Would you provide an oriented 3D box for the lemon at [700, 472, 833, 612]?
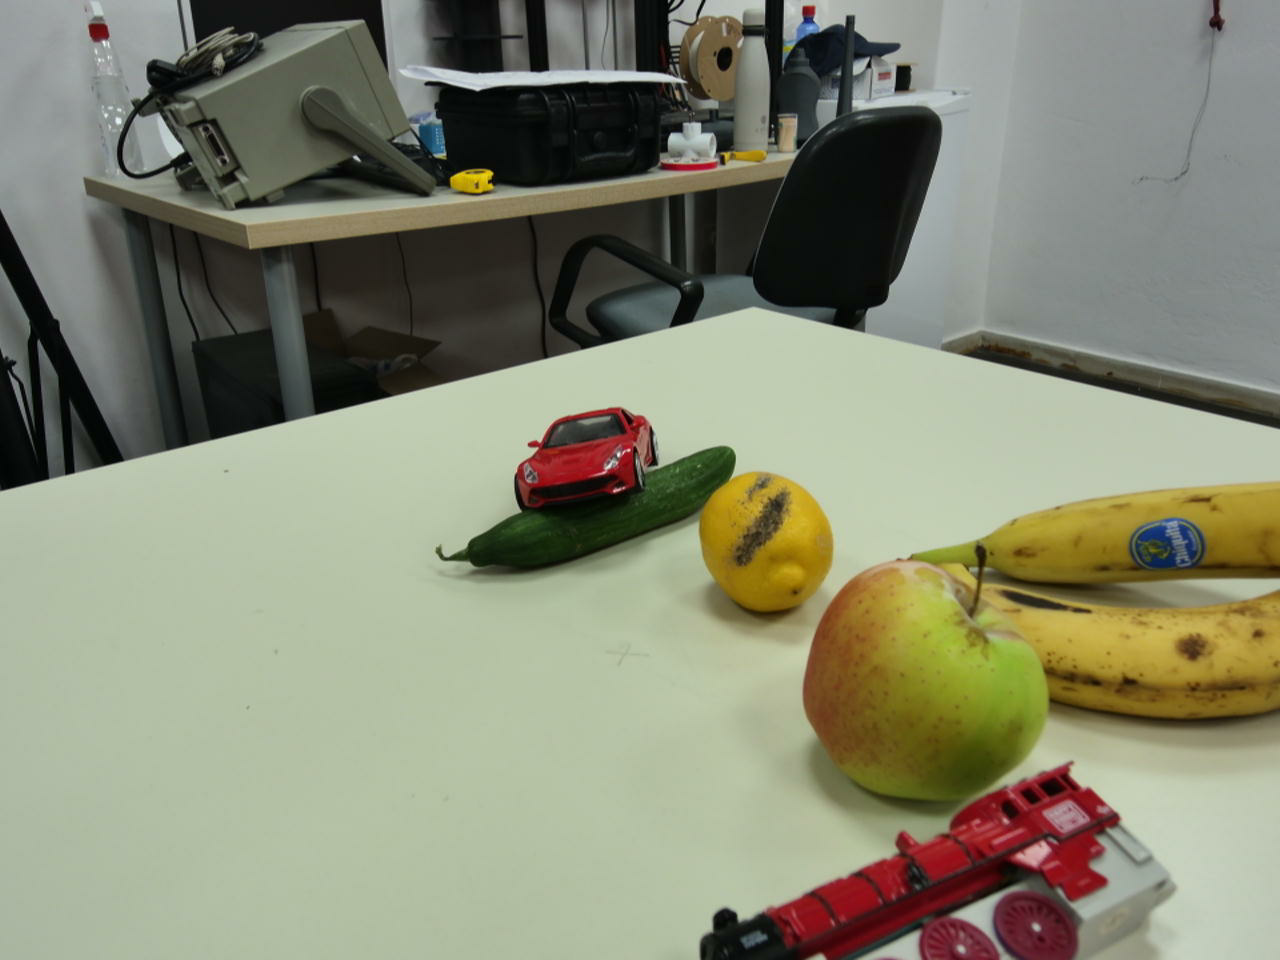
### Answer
[{"bbox_3d":[0.055,0.027,0.432,0.061,0.056,0.058,19,29,39],"label":"lemon"}]
